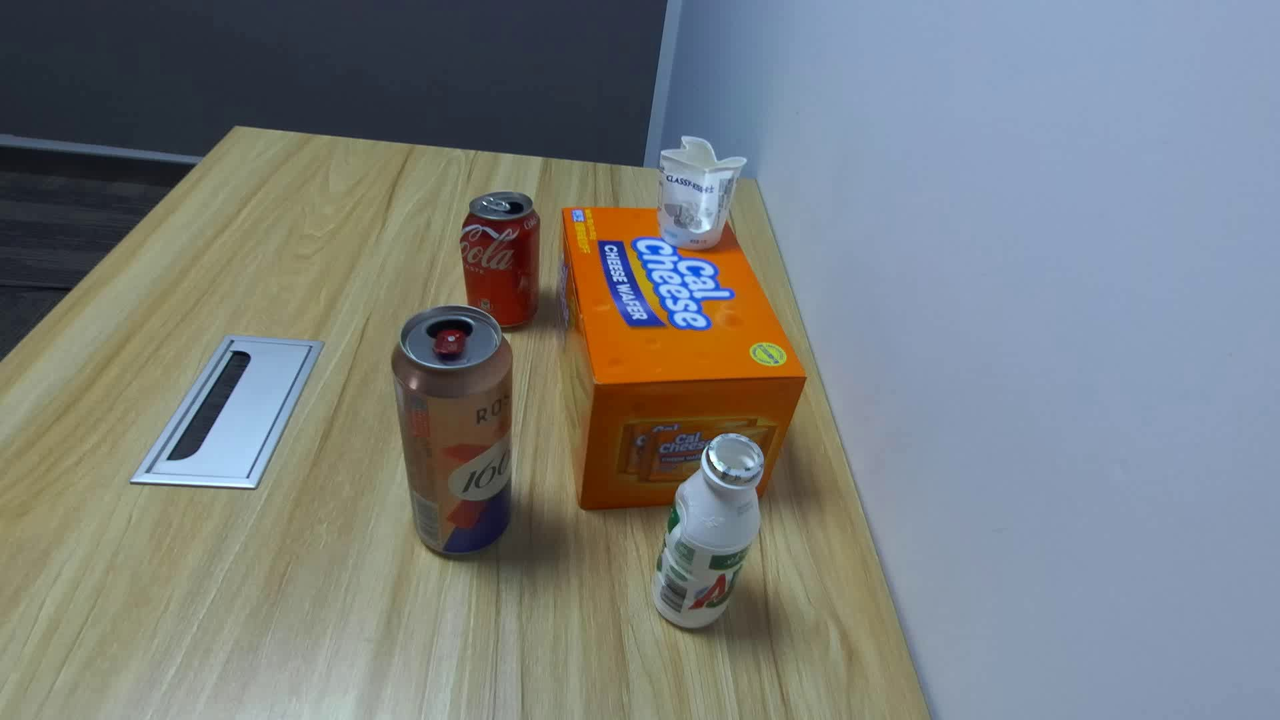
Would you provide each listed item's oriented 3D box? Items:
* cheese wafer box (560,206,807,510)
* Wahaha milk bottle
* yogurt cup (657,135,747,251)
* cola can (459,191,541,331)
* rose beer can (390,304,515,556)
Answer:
[{"bbox_3d":[0.016,-0.010,0.565,0.148,0.129,0.221,-2,42,-12],"label":"cheese wafer box"},{"bbox_3d":[0.040,0.107,0.425,0.053,0.136,0.053,5,42,-4],"label":"Wahaha milk bottle"},{"bbox_3d":[0.046,-0.131,0.557,0.054,0.072,0.055,31,46,23],"label":"yogurt cup"},{"bbox_3d":[-0.124,-0.089,0.641,0.065,0.117,0.072,34,47,25],"label":"cola can"},{"bbox_3d":[-0.114,0.050,0.441,0.069,0.169,0.068,4,40,-3],"label":"rose beer can"}]
